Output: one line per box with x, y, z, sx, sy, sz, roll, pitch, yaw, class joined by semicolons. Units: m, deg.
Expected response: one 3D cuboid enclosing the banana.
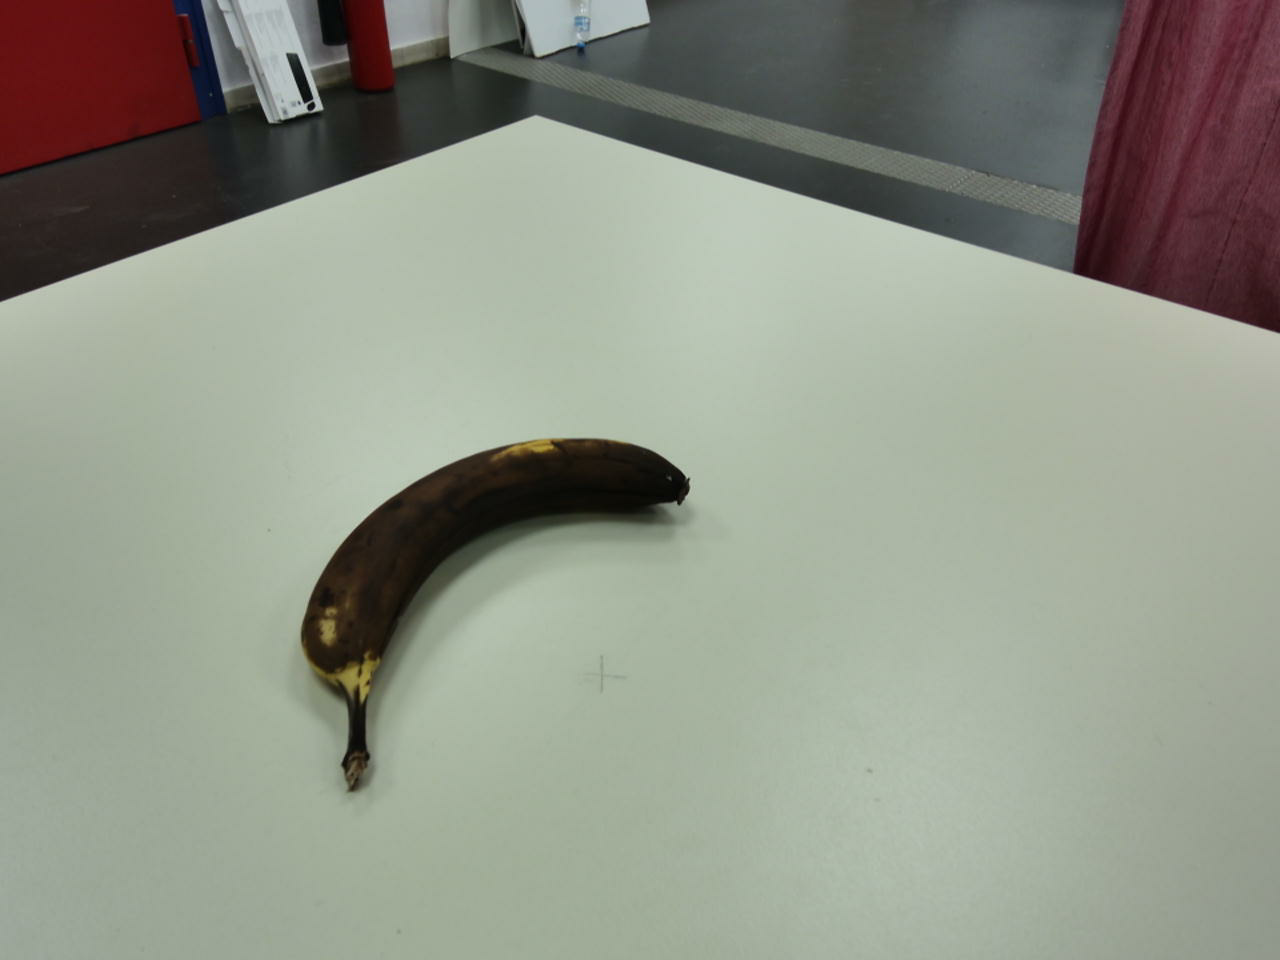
-0.066;0.026;0.392;0.091;0.034;0.188;26;43;30;banana
